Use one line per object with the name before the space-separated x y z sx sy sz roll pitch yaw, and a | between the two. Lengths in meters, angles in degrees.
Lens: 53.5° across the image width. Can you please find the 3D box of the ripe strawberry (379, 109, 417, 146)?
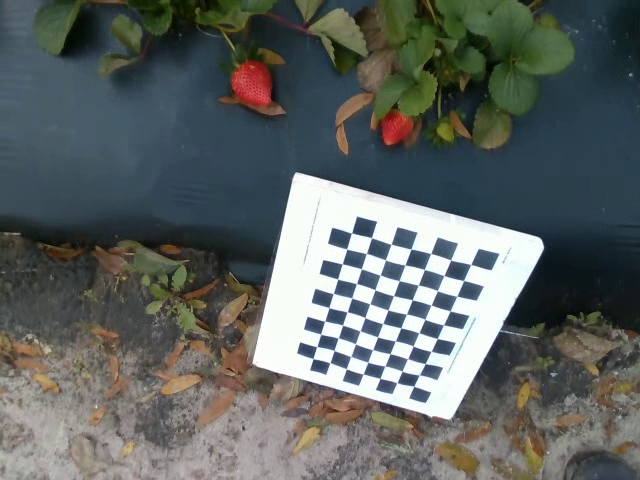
ripe strawberry | 0.081 -0.116 0.678 0.040 0.042 0.037 23 -15 -6

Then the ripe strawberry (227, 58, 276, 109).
ripe strawberry | -0.067 -0.160 0.675 0.042 0.047 0.065 -7 45 -33
